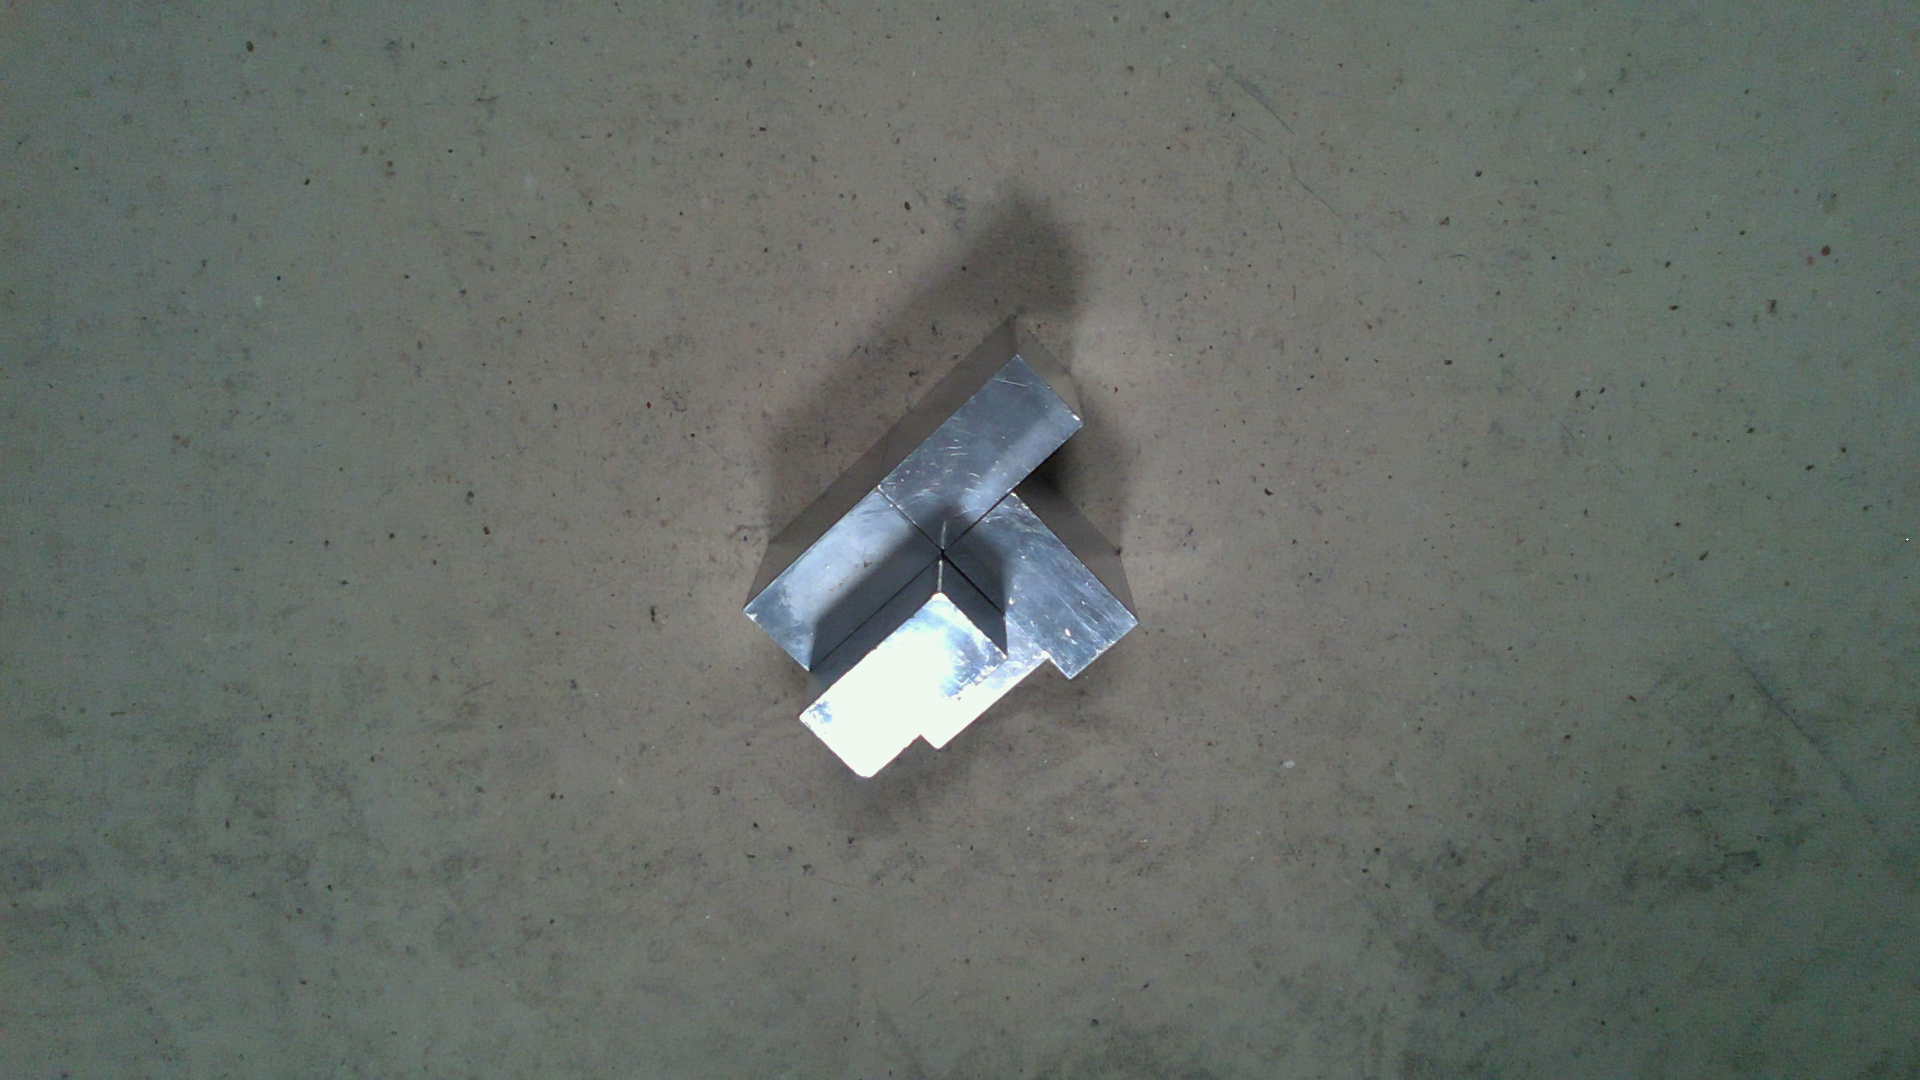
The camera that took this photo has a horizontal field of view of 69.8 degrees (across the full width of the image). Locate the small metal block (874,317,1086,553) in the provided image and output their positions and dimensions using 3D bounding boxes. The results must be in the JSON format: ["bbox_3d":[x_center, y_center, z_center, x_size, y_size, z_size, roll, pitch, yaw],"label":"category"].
[{"bbox_3d":[0.005,-0.030,0.369,0.050,0.050,0.025,-42,105,14],"label":"small metal block"}]

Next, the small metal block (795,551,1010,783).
[{"bbox_3d":[-0.014,0.028,0.364,0.050,0.050,0.025,-42,105,14],"label":"small metal block"}]

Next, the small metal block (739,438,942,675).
[{"bbox_3d":[-0.031,0.003,0.381,0.050,0.050,0.025,-42,105,14],"label":"small metal block"}]

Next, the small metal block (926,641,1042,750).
[{"bbox_3d":[-0.005,0.024,0.403,0.050,0.025,0.050,-41,105,13],"label":"small metal block"}]

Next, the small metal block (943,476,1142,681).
[{"bbox_3d":[0.022,0.004,0.382,0.025,0.050,0.050,-41,105,14],"label":"small metal block"}]
